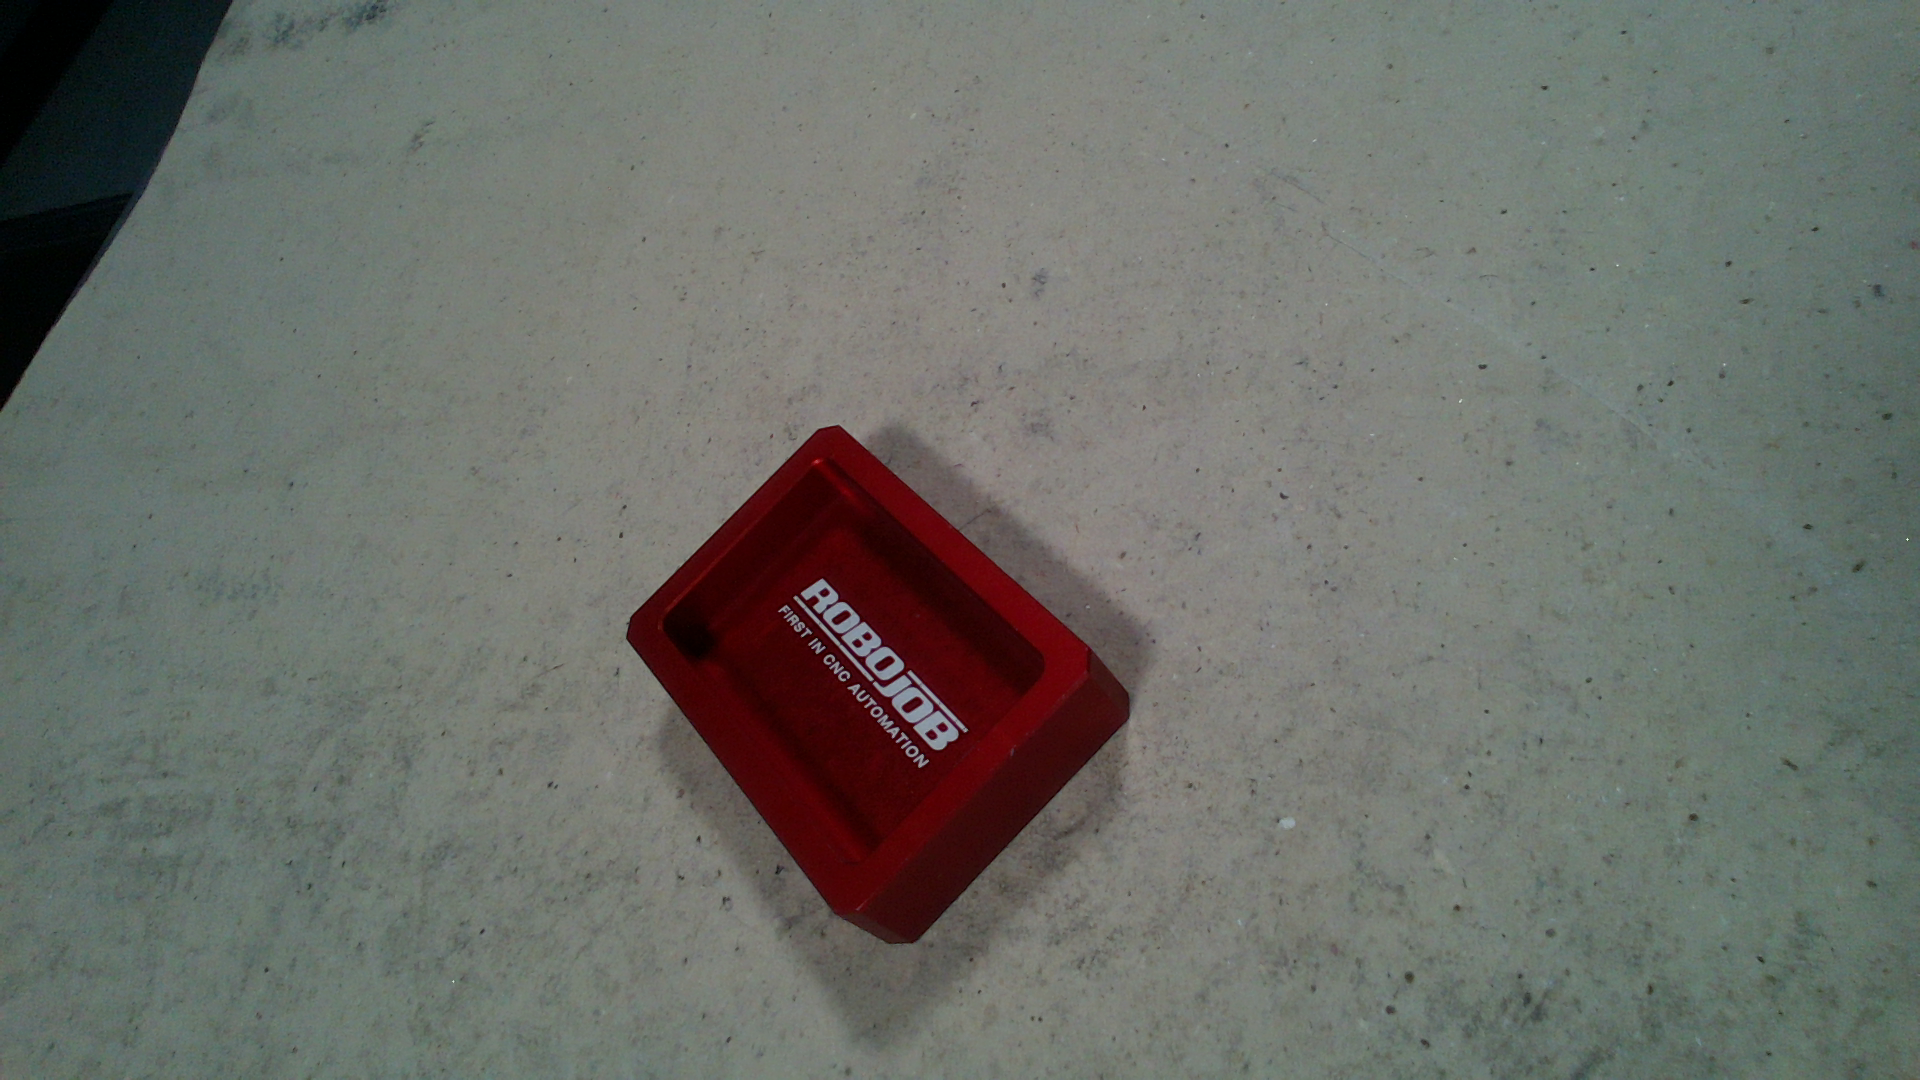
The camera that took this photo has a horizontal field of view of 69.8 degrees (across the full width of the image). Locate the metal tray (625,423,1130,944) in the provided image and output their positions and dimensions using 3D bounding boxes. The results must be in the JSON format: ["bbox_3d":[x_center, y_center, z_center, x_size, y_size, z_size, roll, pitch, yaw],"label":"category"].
[{"bbox_3d":[-0.027,0.035,0.384,0.090,0.030,0.130,-46,51,-3],"label":"metal tray"}]
